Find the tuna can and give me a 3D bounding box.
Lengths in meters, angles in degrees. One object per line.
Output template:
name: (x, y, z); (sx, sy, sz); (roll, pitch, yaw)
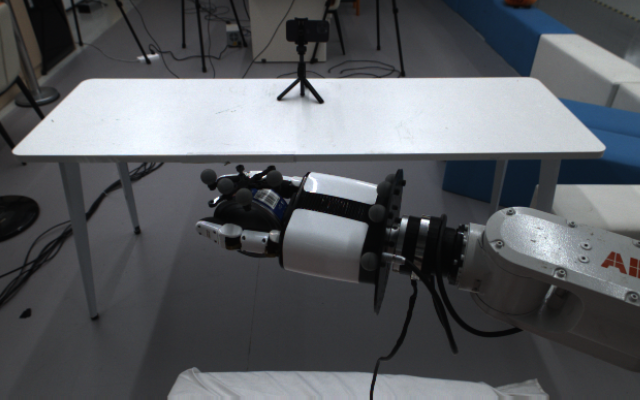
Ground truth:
tuna can: (-0.073, 0.023, 0.553); (0.085, 0.085, 0.034); (11, 39, 13)
